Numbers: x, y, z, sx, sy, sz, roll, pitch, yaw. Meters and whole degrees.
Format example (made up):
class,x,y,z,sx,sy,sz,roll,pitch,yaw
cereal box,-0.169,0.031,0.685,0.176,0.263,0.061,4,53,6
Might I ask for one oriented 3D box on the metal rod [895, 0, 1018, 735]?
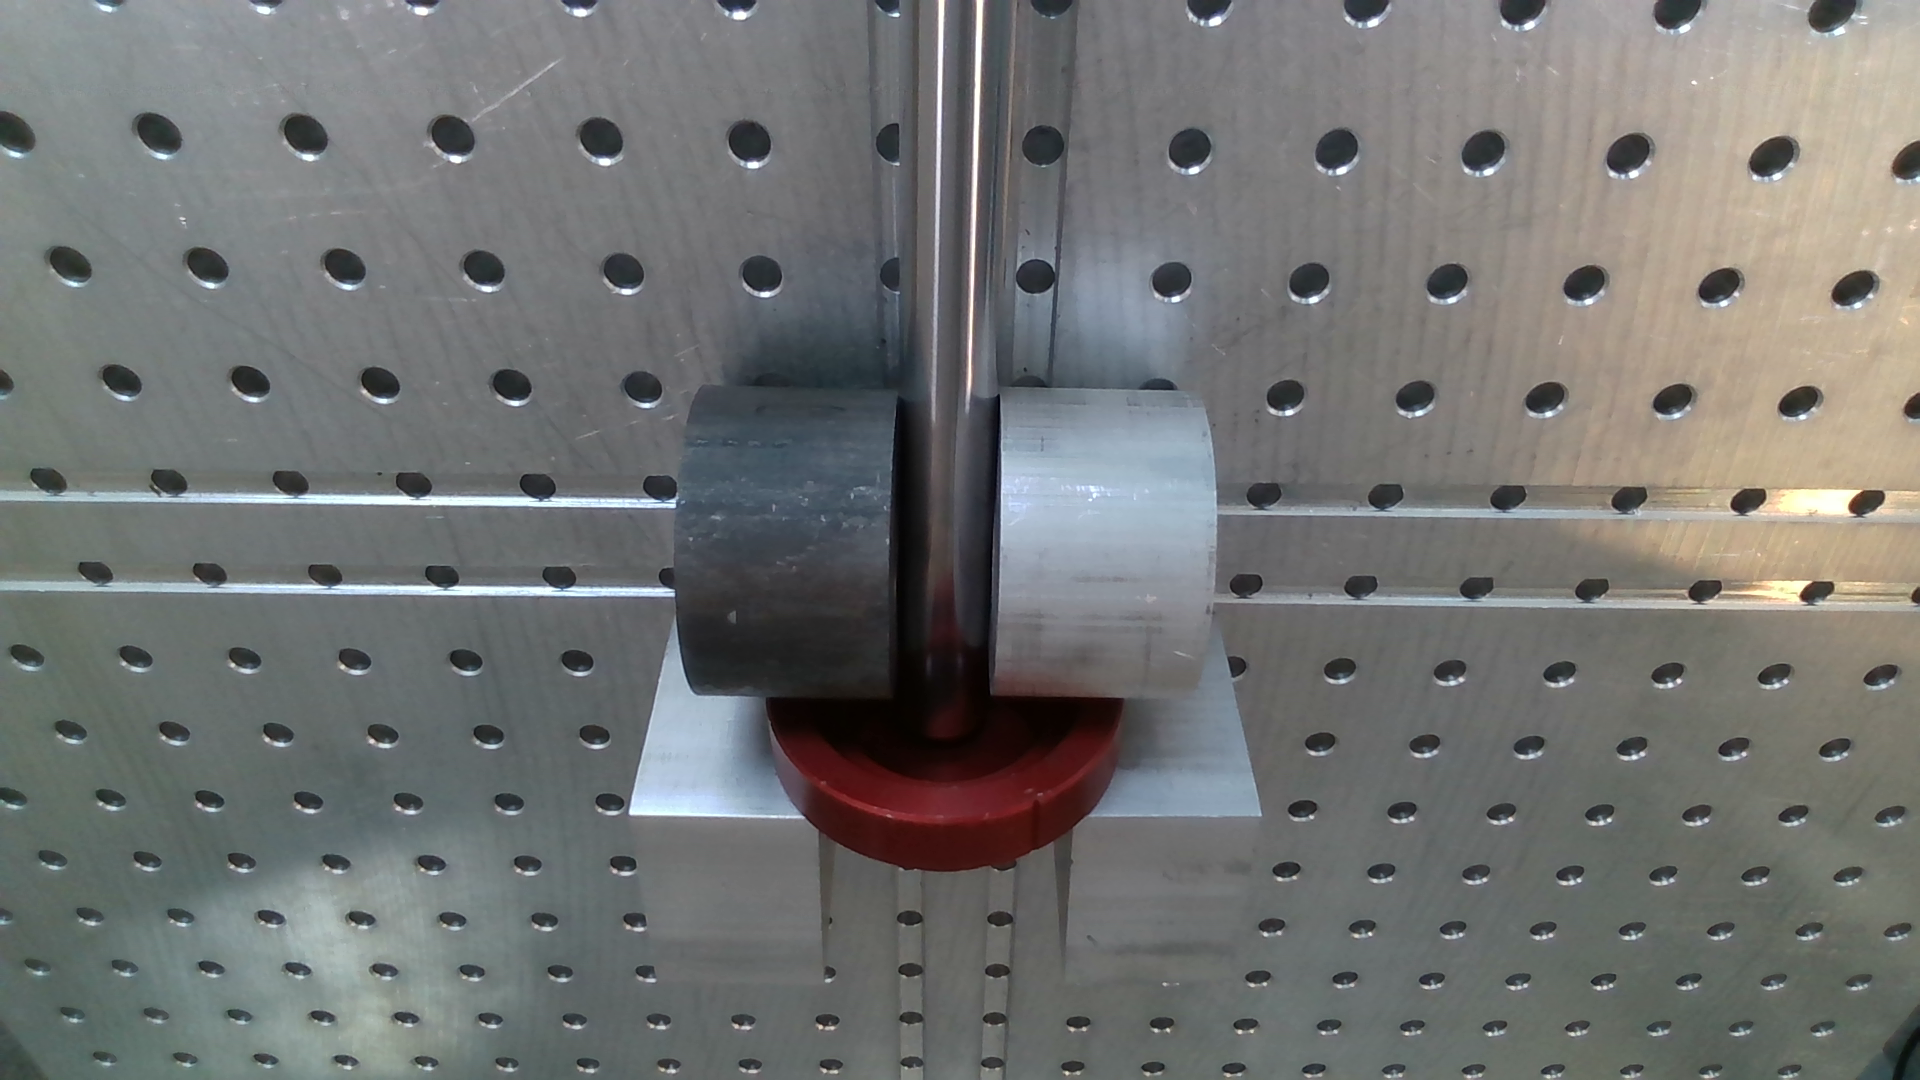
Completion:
class,x,y,z,sx,sy,sz,roll,pitch,yaw
metal rod,-0.002,-0.073,0.315,0.025,0.025,0.301,1,126,-1

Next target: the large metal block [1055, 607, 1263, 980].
class,x,y,z,sx,sy,sz,roll,pitch,yaw
large metal block,0.056,0.077,0.422,0.050,0.080,0.080,0,130,0

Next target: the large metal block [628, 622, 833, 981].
class,x,y,z,sx,sy,sz,roll,pitch,yaw
large metal block,-0.065,0.077,0.422,0.050,0.080,0.080,2,130,-2

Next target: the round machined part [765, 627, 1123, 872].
class,x,y,z,sx,sy,sz,roll,pitch,yaw
round machined part,-0.004,0.054,0.389,0.098,0.098,0.042,1,130,0

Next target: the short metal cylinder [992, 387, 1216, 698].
class,x,y,z,sx,sy,sz,roll,pitch,yaw
short metal cylinder,0.034,0.000,0.357,0.050,0.080,0.080,1,130,0

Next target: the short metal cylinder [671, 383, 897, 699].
class,x,y,z,sx,sy,sz,roll,pitch,yaw
short metal cylinder,-0.041,0.000,0.355,0.050,0.080,0.080,1,130,0
